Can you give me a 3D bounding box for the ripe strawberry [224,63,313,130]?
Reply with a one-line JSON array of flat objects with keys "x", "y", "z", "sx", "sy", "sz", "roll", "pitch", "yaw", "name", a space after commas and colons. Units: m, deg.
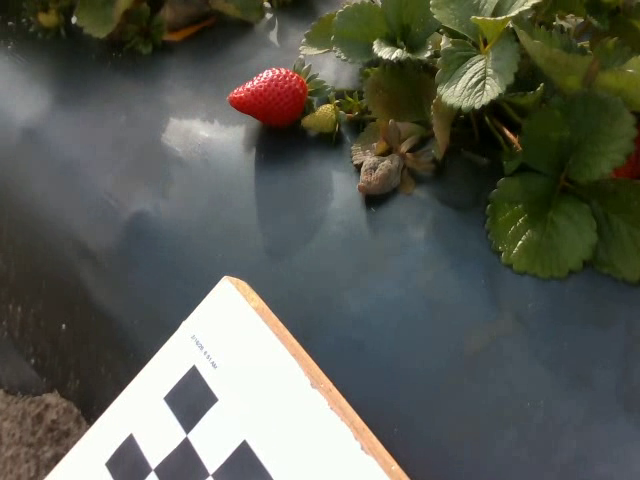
[{"x": -0.035, "y": -0.090, "z": 0.375, "sx": 0.058, "sy": 0.051, "sz": 0.045, "roll": -21, "pitch": 56, "yaw": -34, "name": "ripe strawberry"}]
